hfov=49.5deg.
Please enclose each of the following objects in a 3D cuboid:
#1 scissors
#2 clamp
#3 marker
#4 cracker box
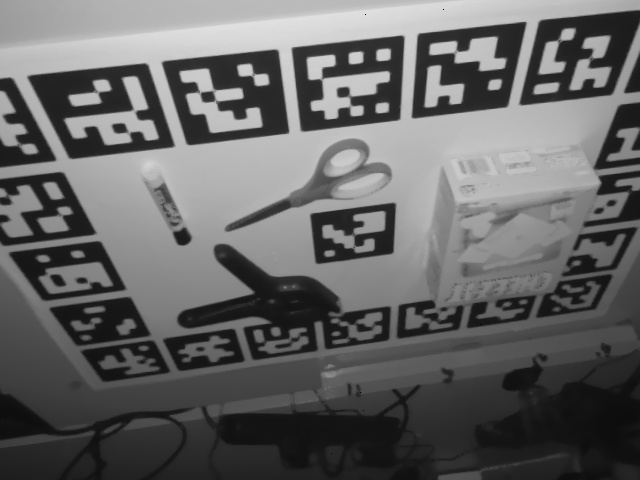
[{"bbox_3d":[-0.010,-0.041,0.756,0.200,0.016,0.088,-26,139,21],"label":"scissors"},{"bbox_3d":[-0.048,0.081,0.899,0.205,0.037,0.162,13,136,-25],"label":"clamp"},{"bbox_3d":[-0.152,-0.024,0.743,0.020,0.020,0.120,-11,141,1],"label":"marker"},{"bbox_3d":[0.229,-0.003,0.815,0.165,0.072,0.212,-7,140,-4],"label":"cracker box"}]
